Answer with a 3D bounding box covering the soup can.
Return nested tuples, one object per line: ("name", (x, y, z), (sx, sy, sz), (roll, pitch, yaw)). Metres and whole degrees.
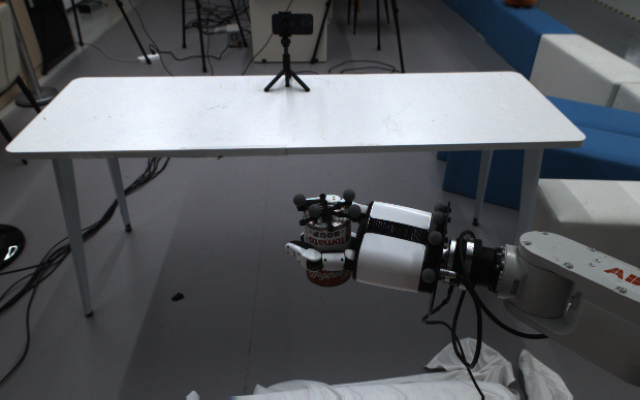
("soup can", (0.013, 0.062, 0.684), (0.067, 0.101, 0.067), (-2, 32, 1))
